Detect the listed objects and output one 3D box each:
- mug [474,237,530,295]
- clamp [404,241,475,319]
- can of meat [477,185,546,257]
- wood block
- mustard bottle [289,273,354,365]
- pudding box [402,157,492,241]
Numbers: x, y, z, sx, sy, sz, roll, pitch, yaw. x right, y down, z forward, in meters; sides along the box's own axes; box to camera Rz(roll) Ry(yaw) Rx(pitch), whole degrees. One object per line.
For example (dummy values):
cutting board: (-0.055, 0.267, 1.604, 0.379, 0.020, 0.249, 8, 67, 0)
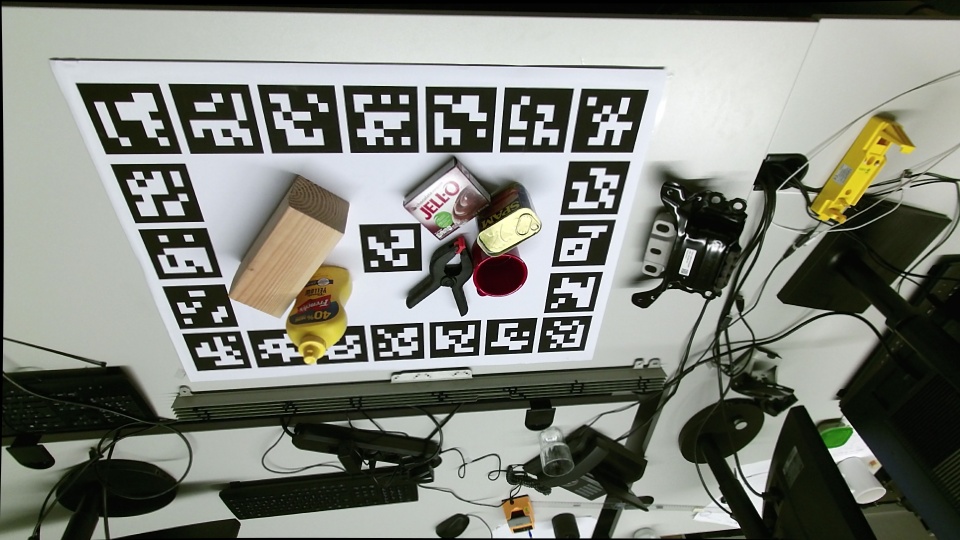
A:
mug: (0.028, -0.010, 0.940, 0.094, 0.081, 0.117, 17, 120, -19)
clamp: (-0.056, 0.023, 0.958, 0.122, 0.036, 0.165, 15, 121, -16)
can of meat: (0.047, -0.081, 0.856, 0.102, 0.083, 0.058, -27, 124, 12)
wood block: (-0.303, -0.033, 0.846, 0.090, 0.090, 0.206, 30, 119, -28)
mustard bottle: (-0.259, 0.081, 0.868, 0.096, 0.190, 0.058, -7, 126, -4)
pudding box: (-0.053, -0.110, 0.854, 0.114, 0.038, 0.090, -34, 123, 18)
